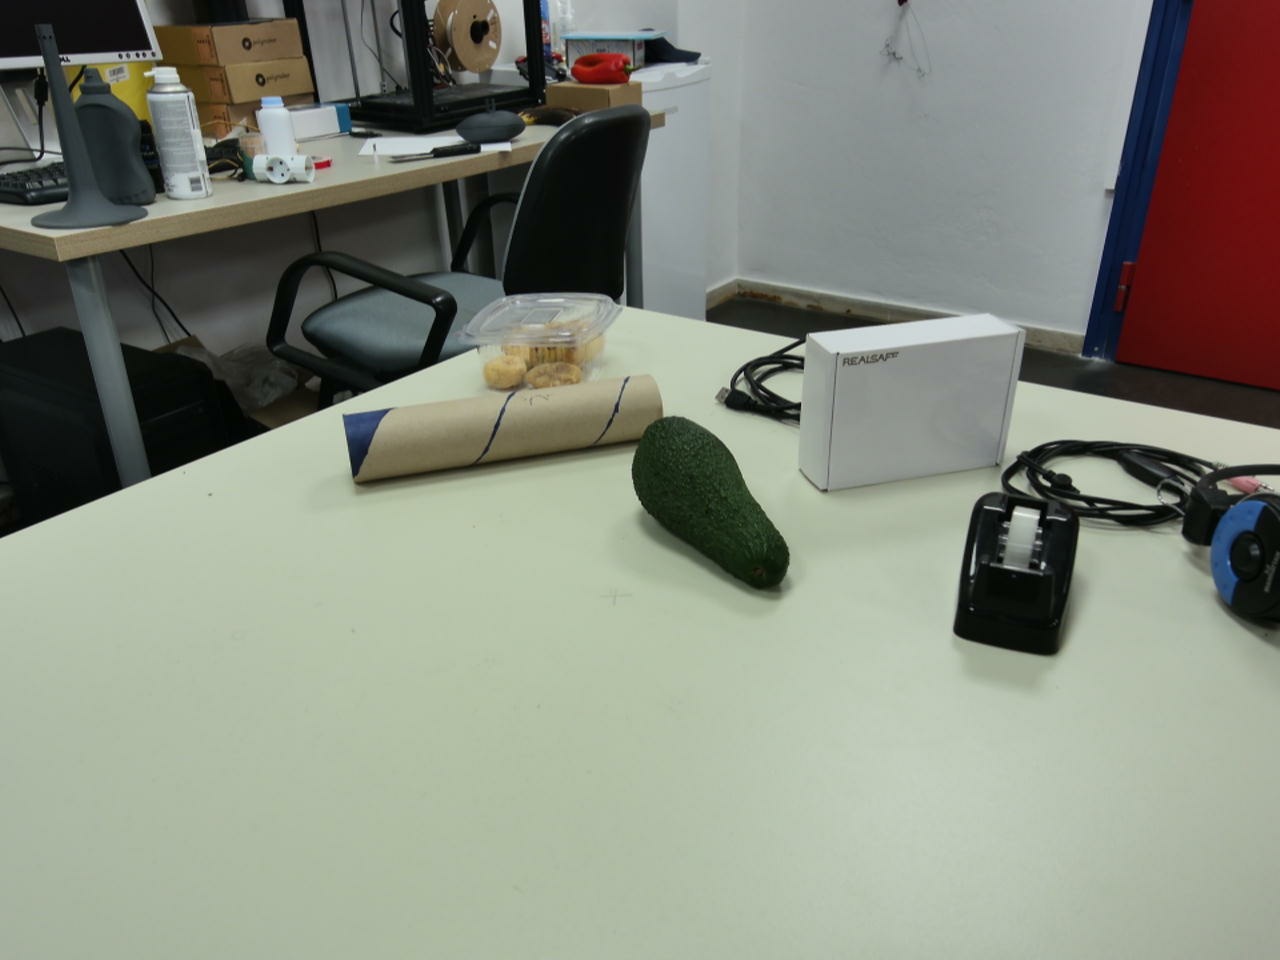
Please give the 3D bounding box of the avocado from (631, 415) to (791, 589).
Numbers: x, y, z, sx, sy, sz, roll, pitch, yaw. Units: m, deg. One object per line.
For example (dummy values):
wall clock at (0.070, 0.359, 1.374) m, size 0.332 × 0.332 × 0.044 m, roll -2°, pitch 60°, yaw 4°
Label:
avocado at (0.046, 0.007, 0.590) m, size 0.063 × 0.067 × 0.141 m, roll -19°, pitch 31°, yaw -34°
